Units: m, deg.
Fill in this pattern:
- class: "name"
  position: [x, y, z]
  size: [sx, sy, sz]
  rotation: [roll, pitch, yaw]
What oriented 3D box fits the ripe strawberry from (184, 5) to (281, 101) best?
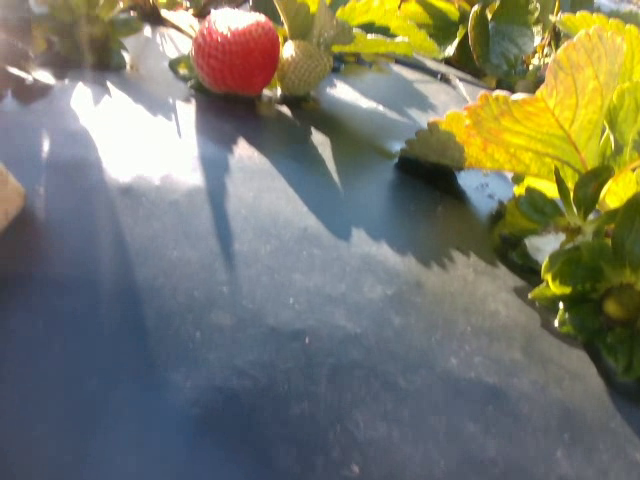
- class: "ripe strawberry"
  position: [-0.026, -0.063, 0.206]
  size: [0.042, 0.037, 0.045]
  rotation: [26, -24, -17]
